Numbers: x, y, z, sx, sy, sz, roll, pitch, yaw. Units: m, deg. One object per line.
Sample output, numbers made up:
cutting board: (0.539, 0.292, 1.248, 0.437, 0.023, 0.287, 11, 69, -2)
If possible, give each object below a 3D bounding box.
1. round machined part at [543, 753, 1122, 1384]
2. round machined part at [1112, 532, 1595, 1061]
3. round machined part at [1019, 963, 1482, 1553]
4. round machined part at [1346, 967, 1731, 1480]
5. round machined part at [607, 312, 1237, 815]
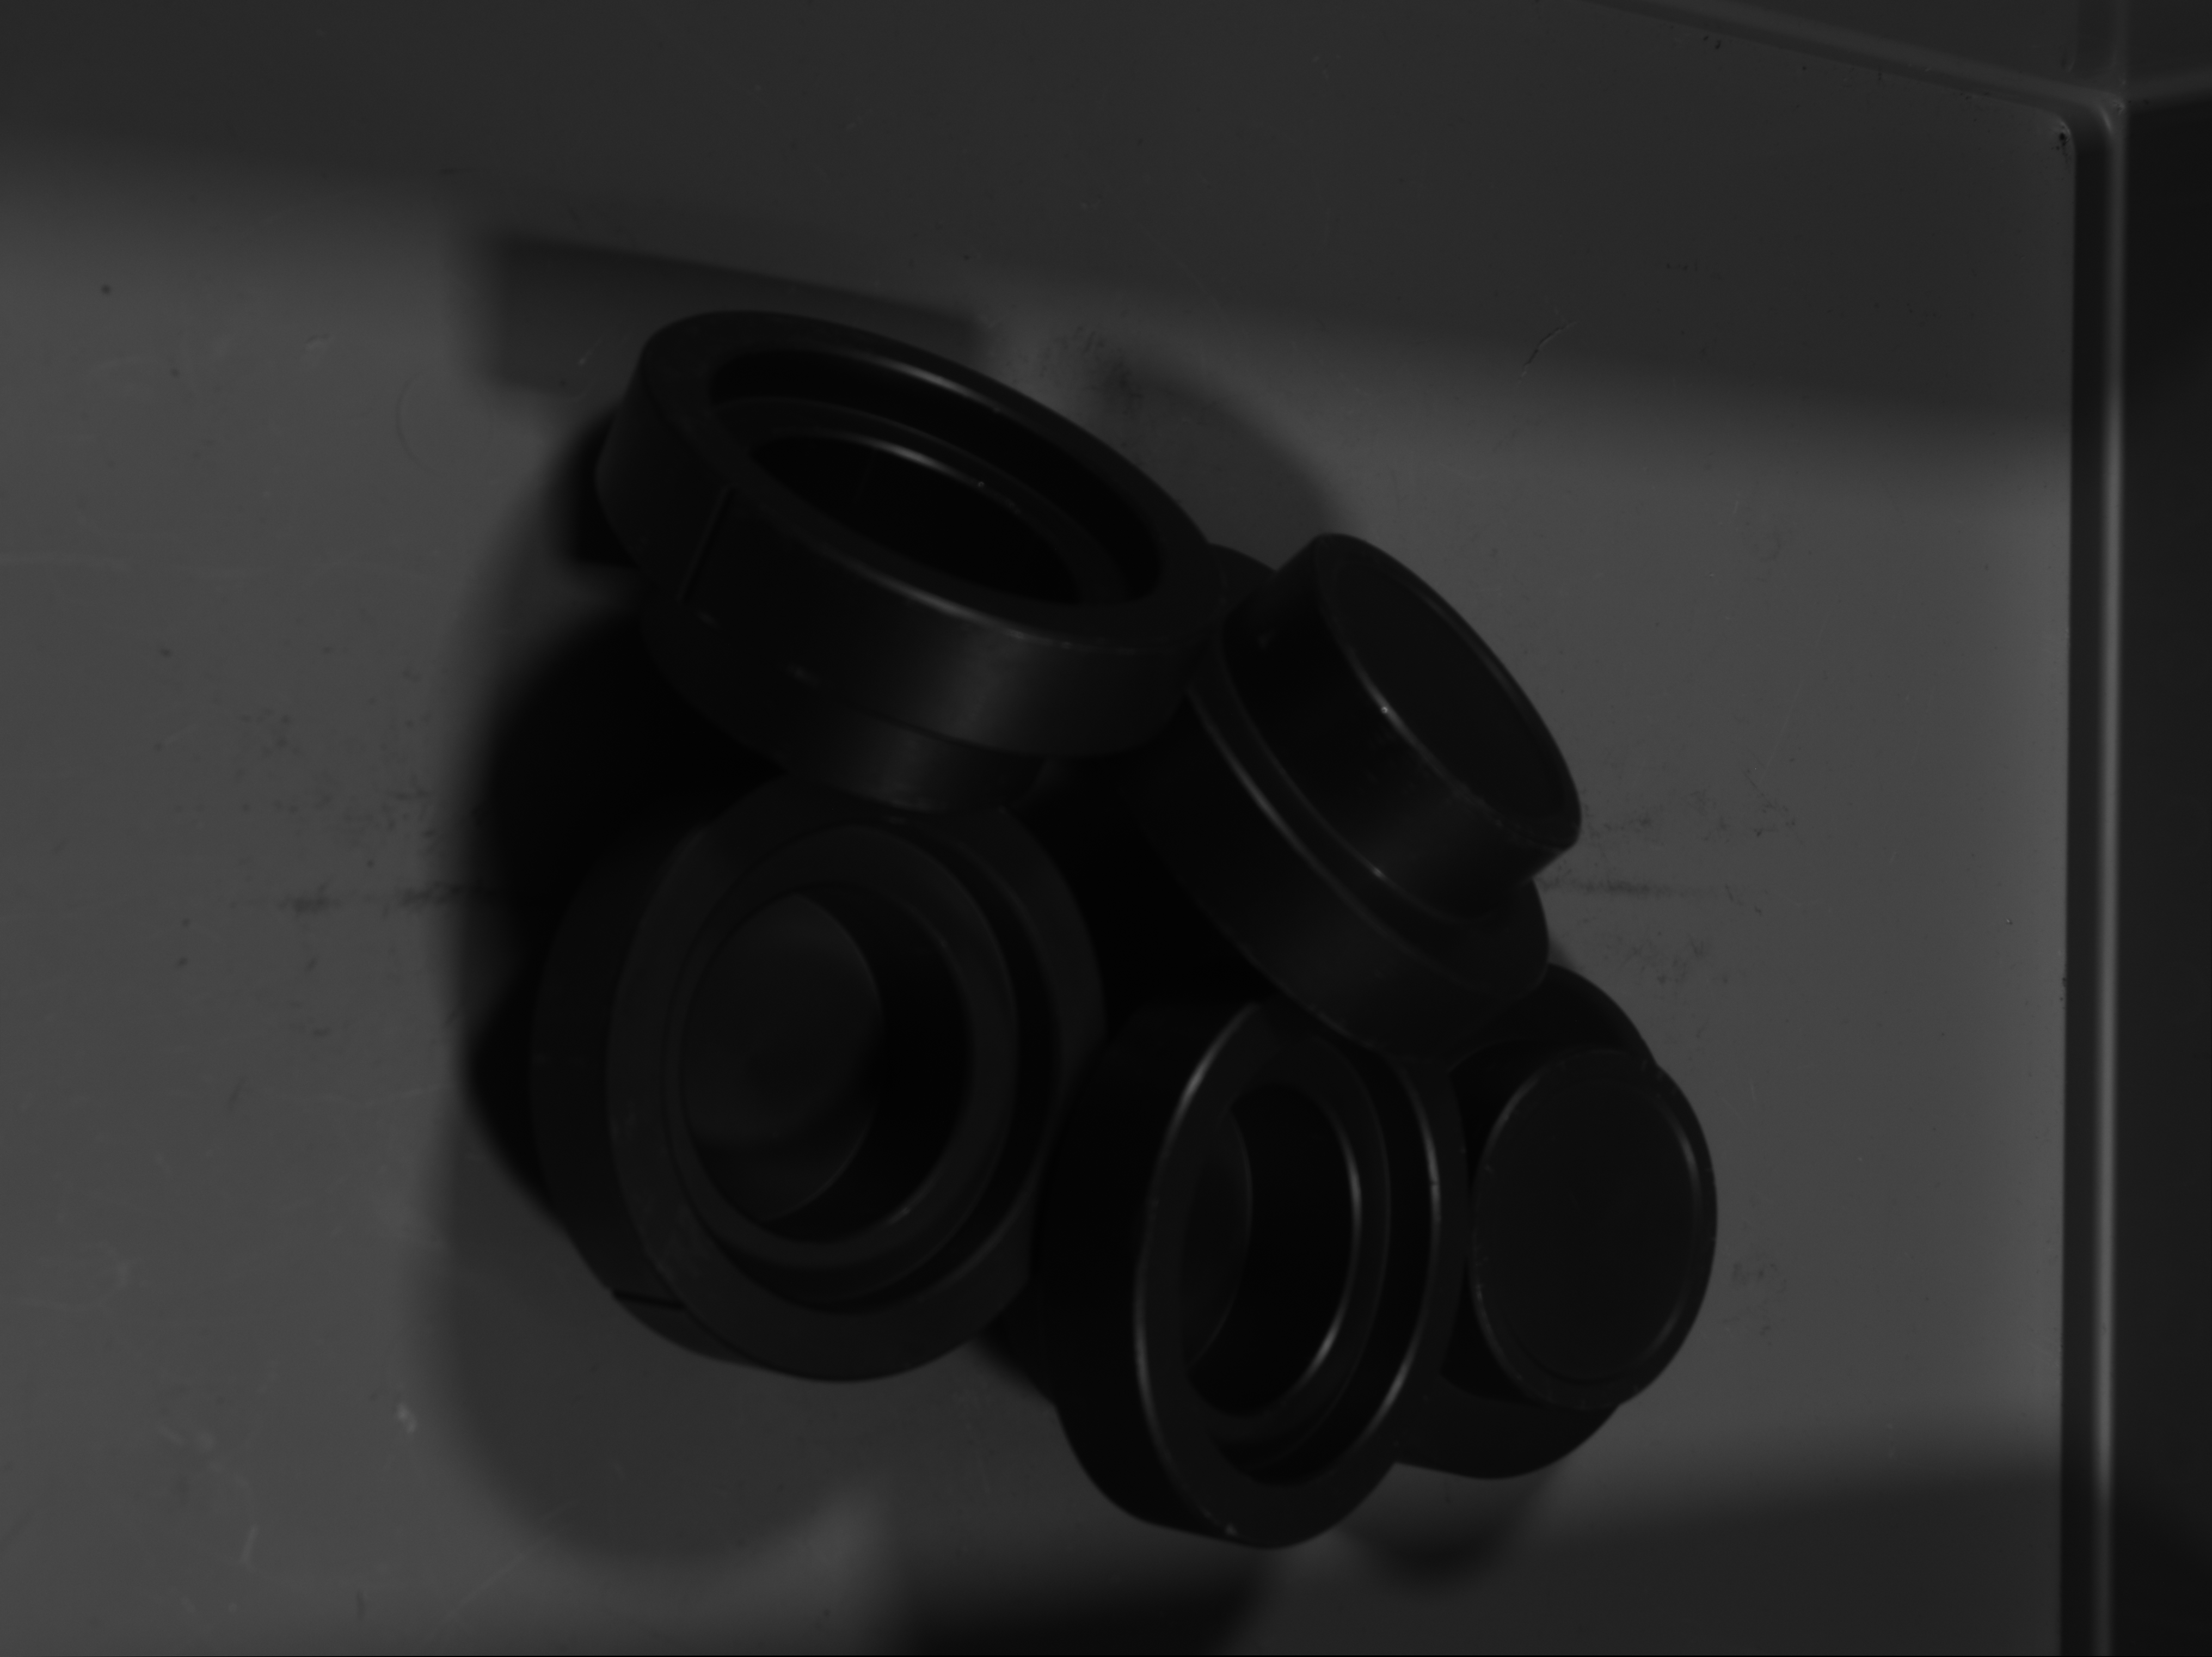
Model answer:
round machined part: (-0.048, 0.037, 0.584, 0.098, 0.042, 0.098, 0, 90, -40)
round machined part: (0.046, -0.012, 0.628, 0.098, 0.042, 0.098, 39, 25, -22)
round machined part: (0.021, 0.071, 0.627, 0.098, 0.042, 0.098, -12, 105, -51)
round machined part: (0.080, 0.074, 0.691, 0.098, 0.042, 0.098, 0, 90, -40)
round machined part: (-0.032, -0.038, 0.575, 0.098, 0.098, 0.042, 4, 123, -40)
